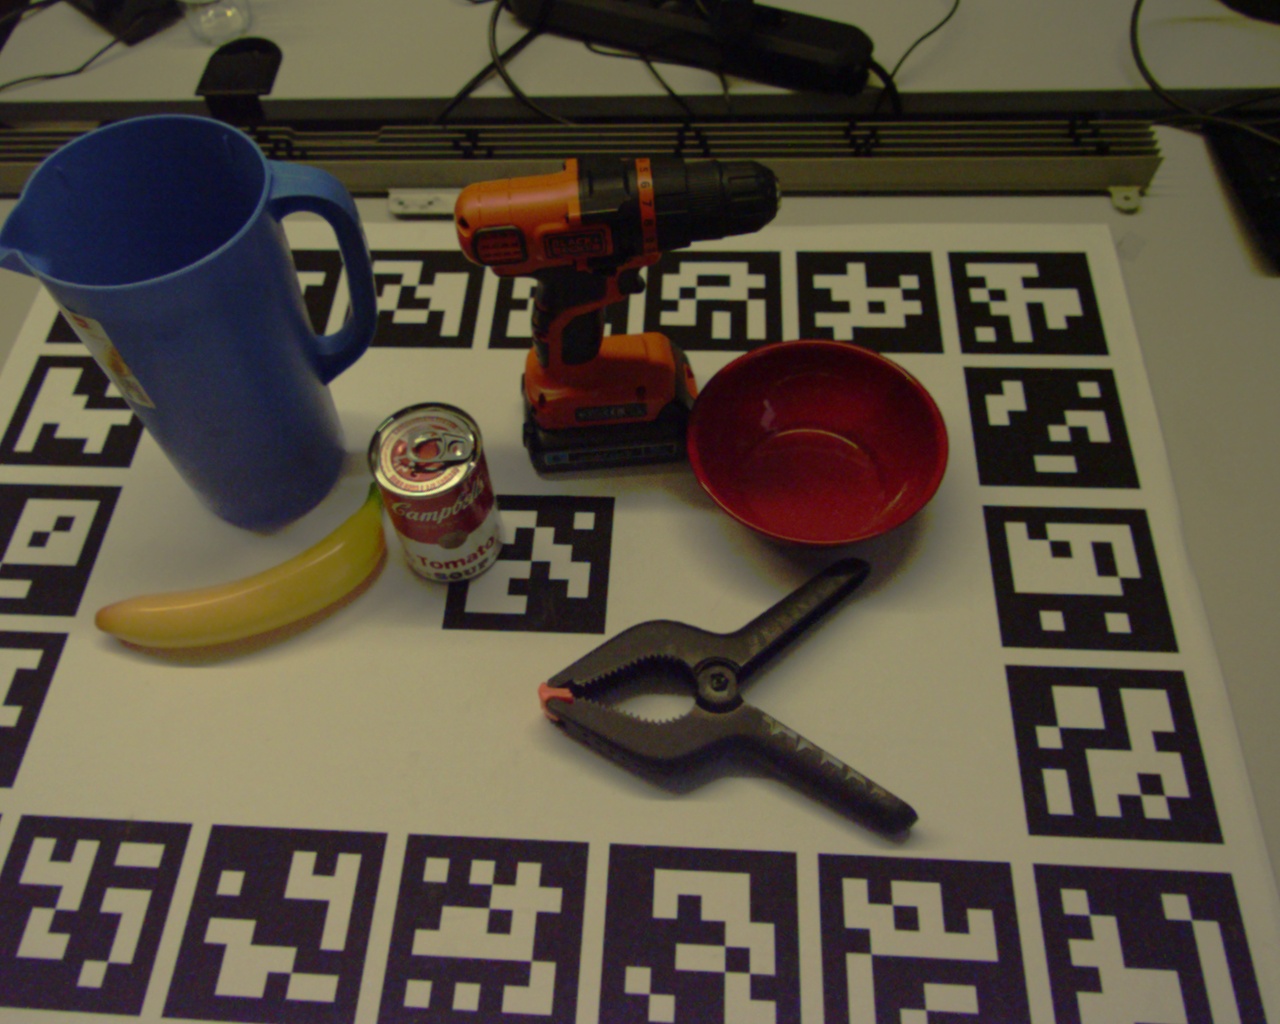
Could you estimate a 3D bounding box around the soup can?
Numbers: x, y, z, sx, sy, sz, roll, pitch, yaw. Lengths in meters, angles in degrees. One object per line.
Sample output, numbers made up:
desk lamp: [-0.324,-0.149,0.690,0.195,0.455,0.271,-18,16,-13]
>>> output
soup can: [-0.128,-0.015,0.730,0.068,0.101,0.068,-2,49,2]

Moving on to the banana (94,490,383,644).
banana: [-0.252,0.045,0.739,0.196,0.038,0.075,-21,50,-11]

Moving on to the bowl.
bowl: [0.100,-0.036,0.752,0.162,0.055,0.162,-2,58,3]

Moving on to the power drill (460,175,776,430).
power drill: [-0.011,-0.130,0.722,0.184,0.186,0.057,-4,57,0]

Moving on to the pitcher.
pitcher: [-0.250,-0.105,0.713,0.188,0.241,0.134,-20,55,-10]

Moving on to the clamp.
clamp: [0.037,0.099,0.673,0.203,0.036,0.166,-2,61,3]
